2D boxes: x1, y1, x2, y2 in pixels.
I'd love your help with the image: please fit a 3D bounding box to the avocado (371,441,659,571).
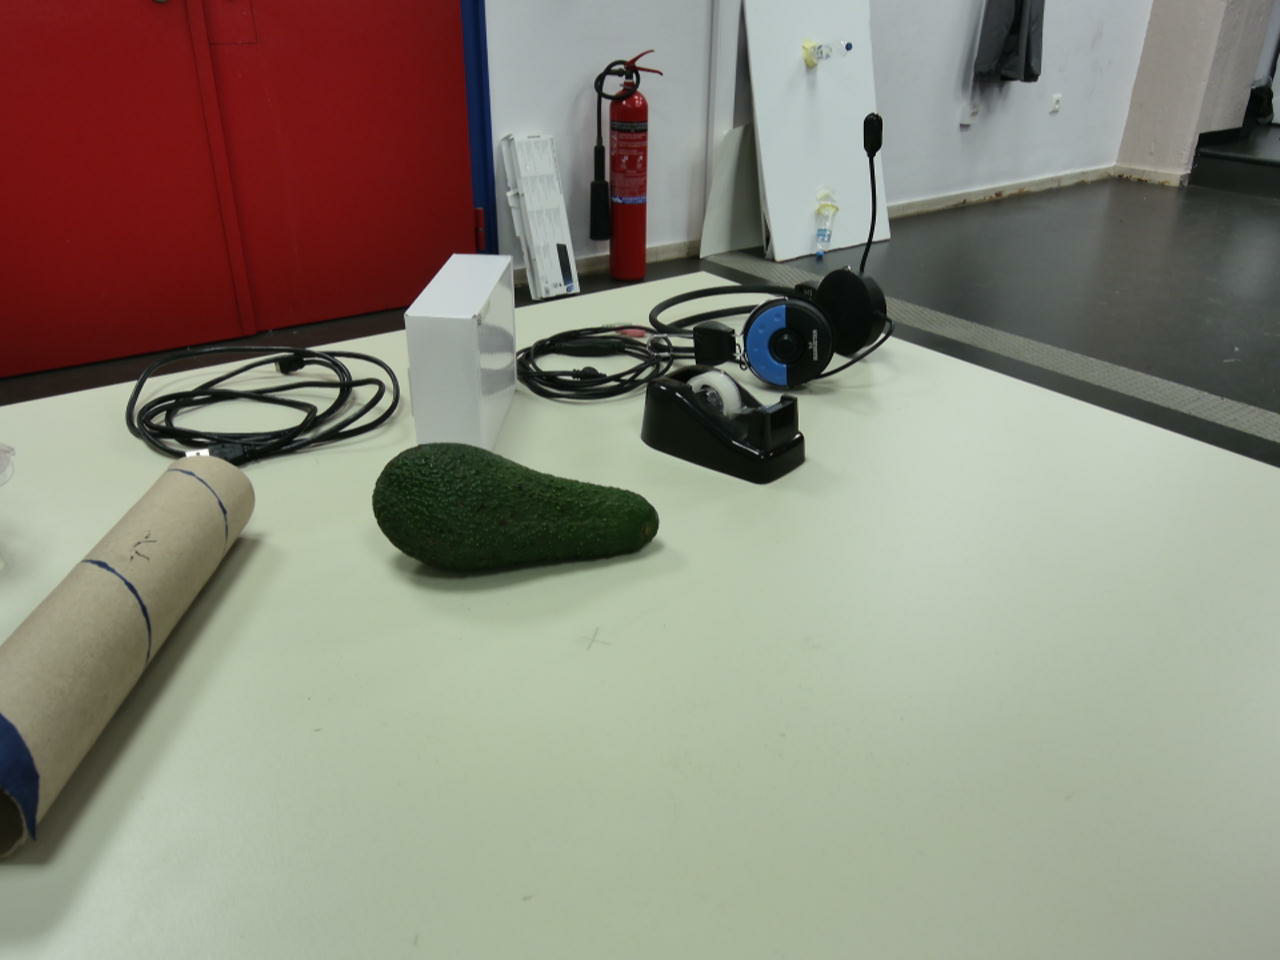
[{"bbox_3d":[-0.061,0.008,0.502,0.141,0.067,0.063,-10,27,-20],"label":"avocado"}]
